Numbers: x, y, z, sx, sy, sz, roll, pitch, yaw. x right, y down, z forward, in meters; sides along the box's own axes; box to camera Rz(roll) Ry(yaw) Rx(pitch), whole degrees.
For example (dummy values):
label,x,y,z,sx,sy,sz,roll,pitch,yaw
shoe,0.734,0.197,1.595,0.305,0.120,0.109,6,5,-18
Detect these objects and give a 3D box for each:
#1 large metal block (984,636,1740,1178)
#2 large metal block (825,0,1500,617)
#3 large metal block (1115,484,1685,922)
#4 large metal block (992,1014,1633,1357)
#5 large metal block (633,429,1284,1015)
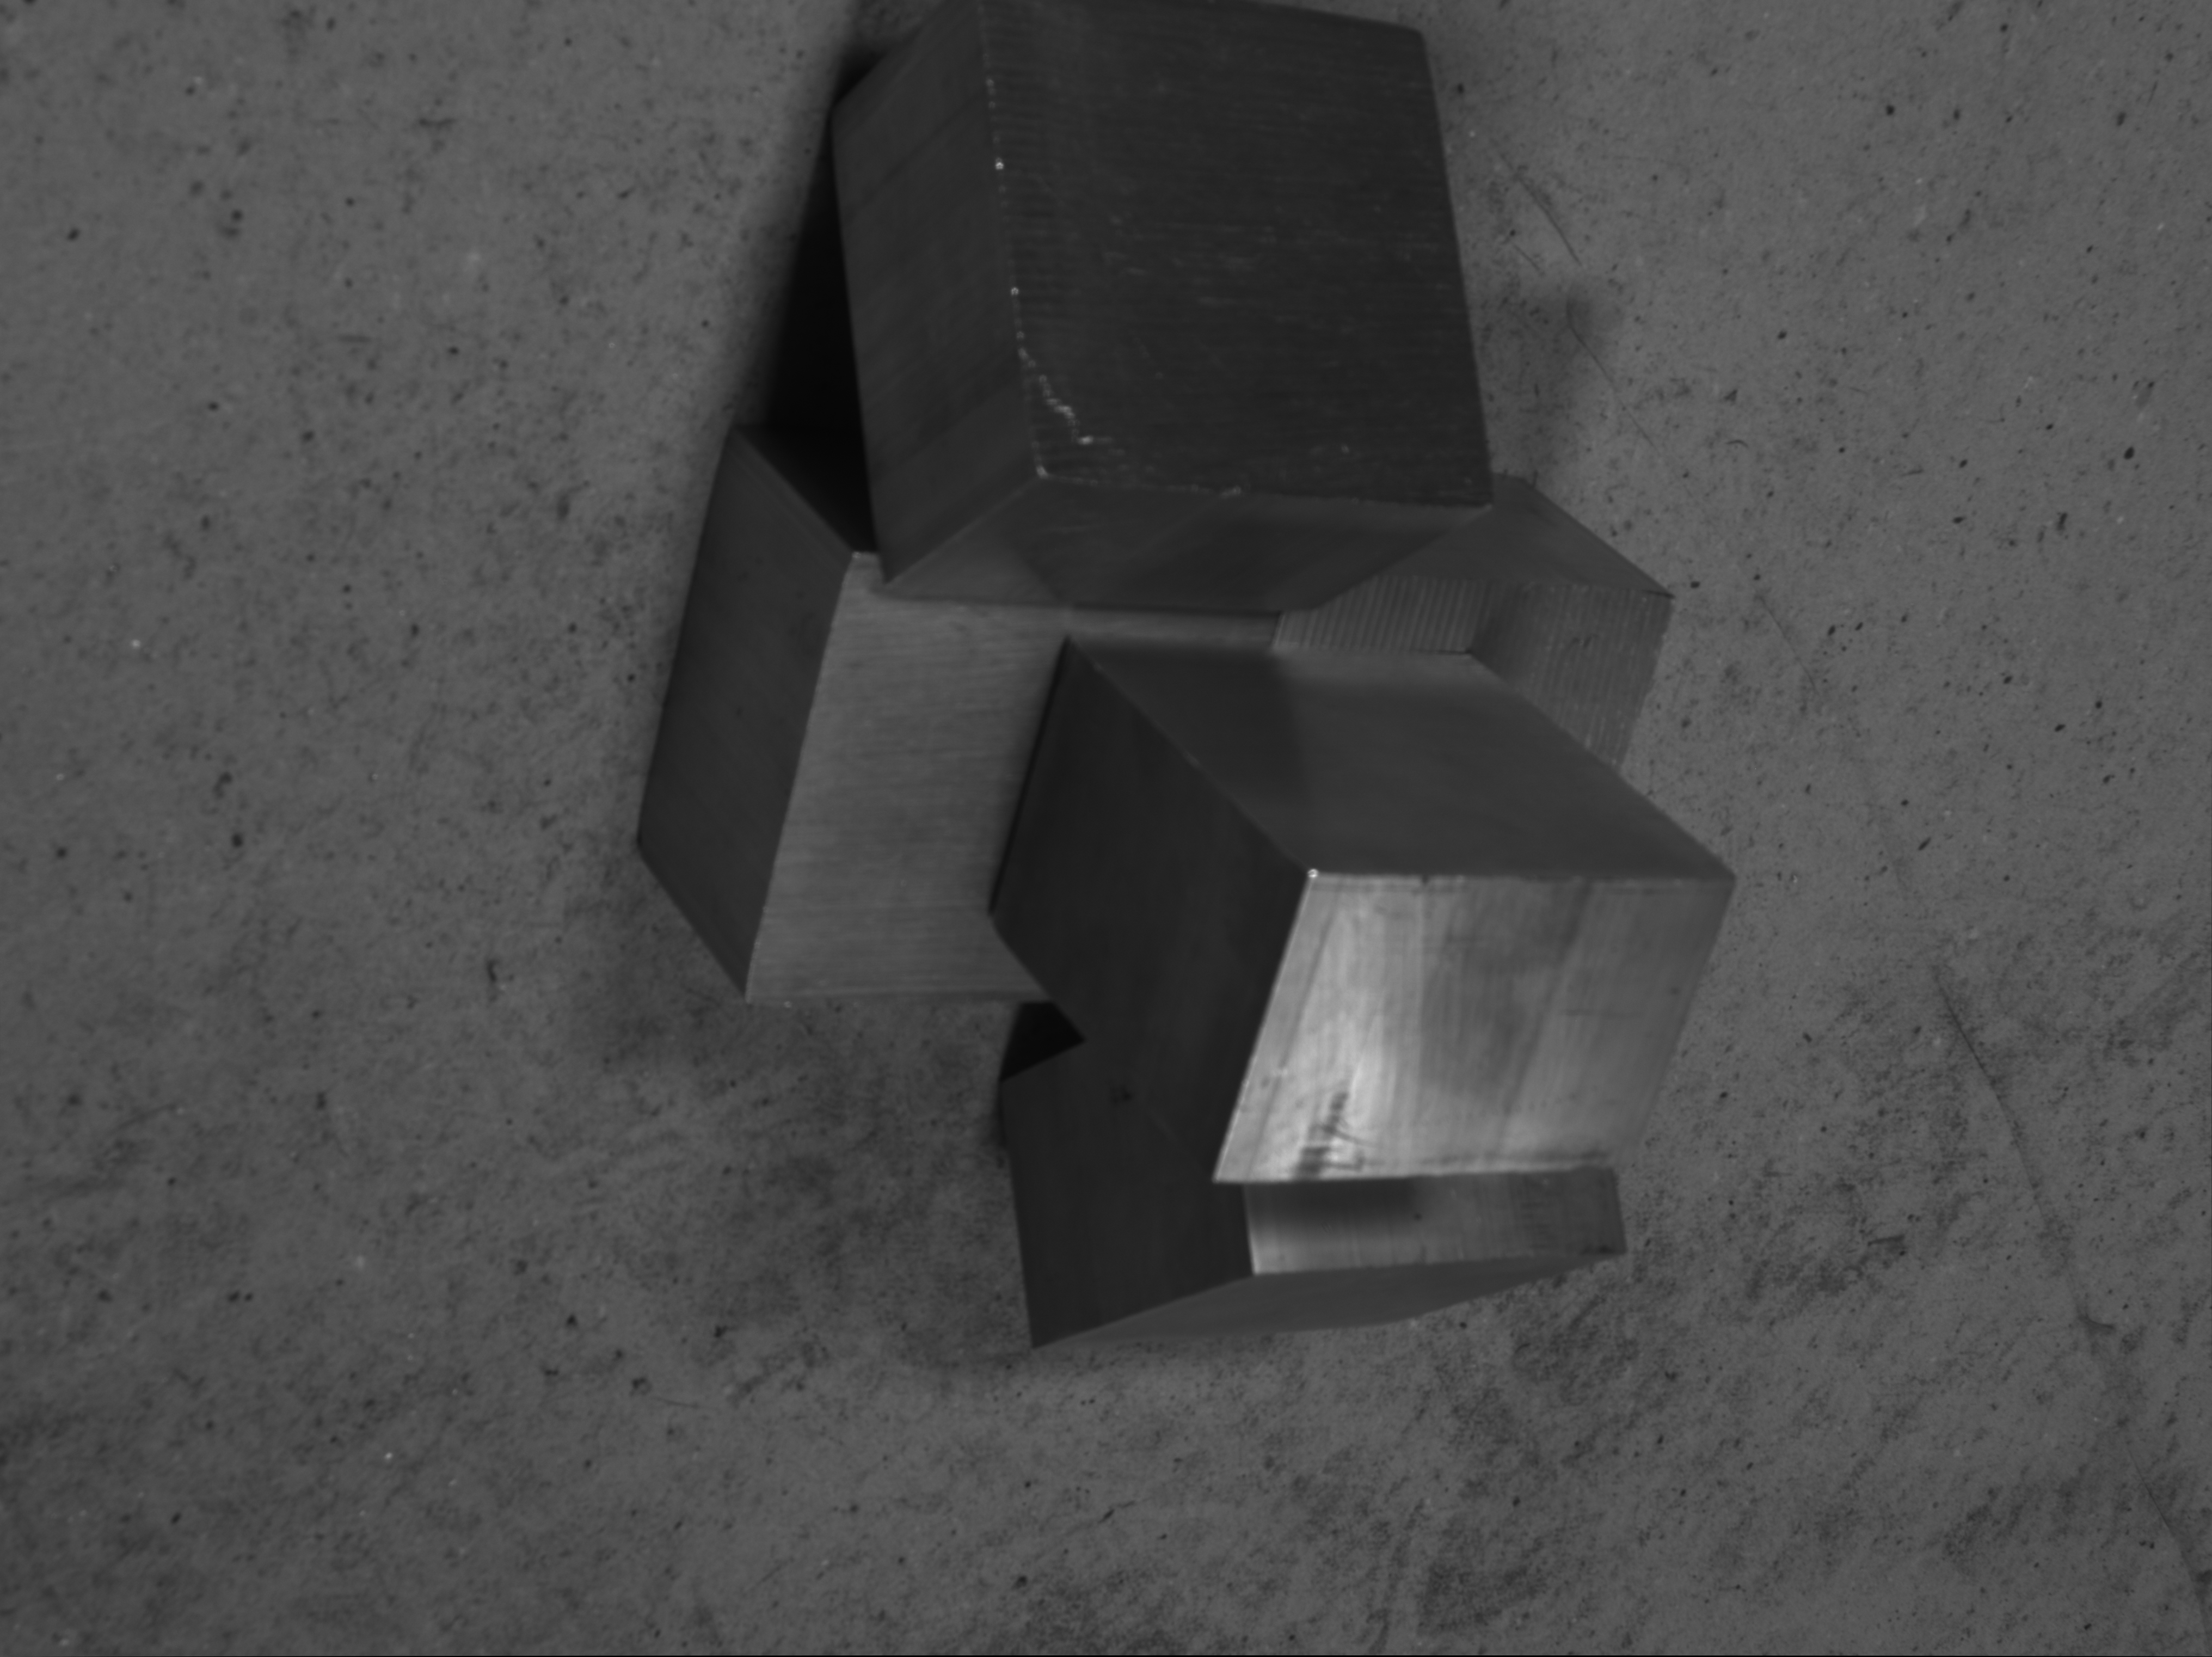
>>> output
label,x,y,z,sx,sy,sz,roll,pitch,yaw
large metal block,0.039,0.011,0.579,0.080,0.080,0.050,1,117,-31
large metal block,0.008,-0.080,0.562,0.080,0.050,0.080,1,74,-30
large metal block,0.045,-0.016,0.649,0.080,0.050,0.080,1,118,-31
large metal block,0.036,0.063,0.666,0.080,0.080,0.050,0,74,-31
large metal block,-0.025,-0.017,0.608,0.080,0.050,0.080,1,118,-31
